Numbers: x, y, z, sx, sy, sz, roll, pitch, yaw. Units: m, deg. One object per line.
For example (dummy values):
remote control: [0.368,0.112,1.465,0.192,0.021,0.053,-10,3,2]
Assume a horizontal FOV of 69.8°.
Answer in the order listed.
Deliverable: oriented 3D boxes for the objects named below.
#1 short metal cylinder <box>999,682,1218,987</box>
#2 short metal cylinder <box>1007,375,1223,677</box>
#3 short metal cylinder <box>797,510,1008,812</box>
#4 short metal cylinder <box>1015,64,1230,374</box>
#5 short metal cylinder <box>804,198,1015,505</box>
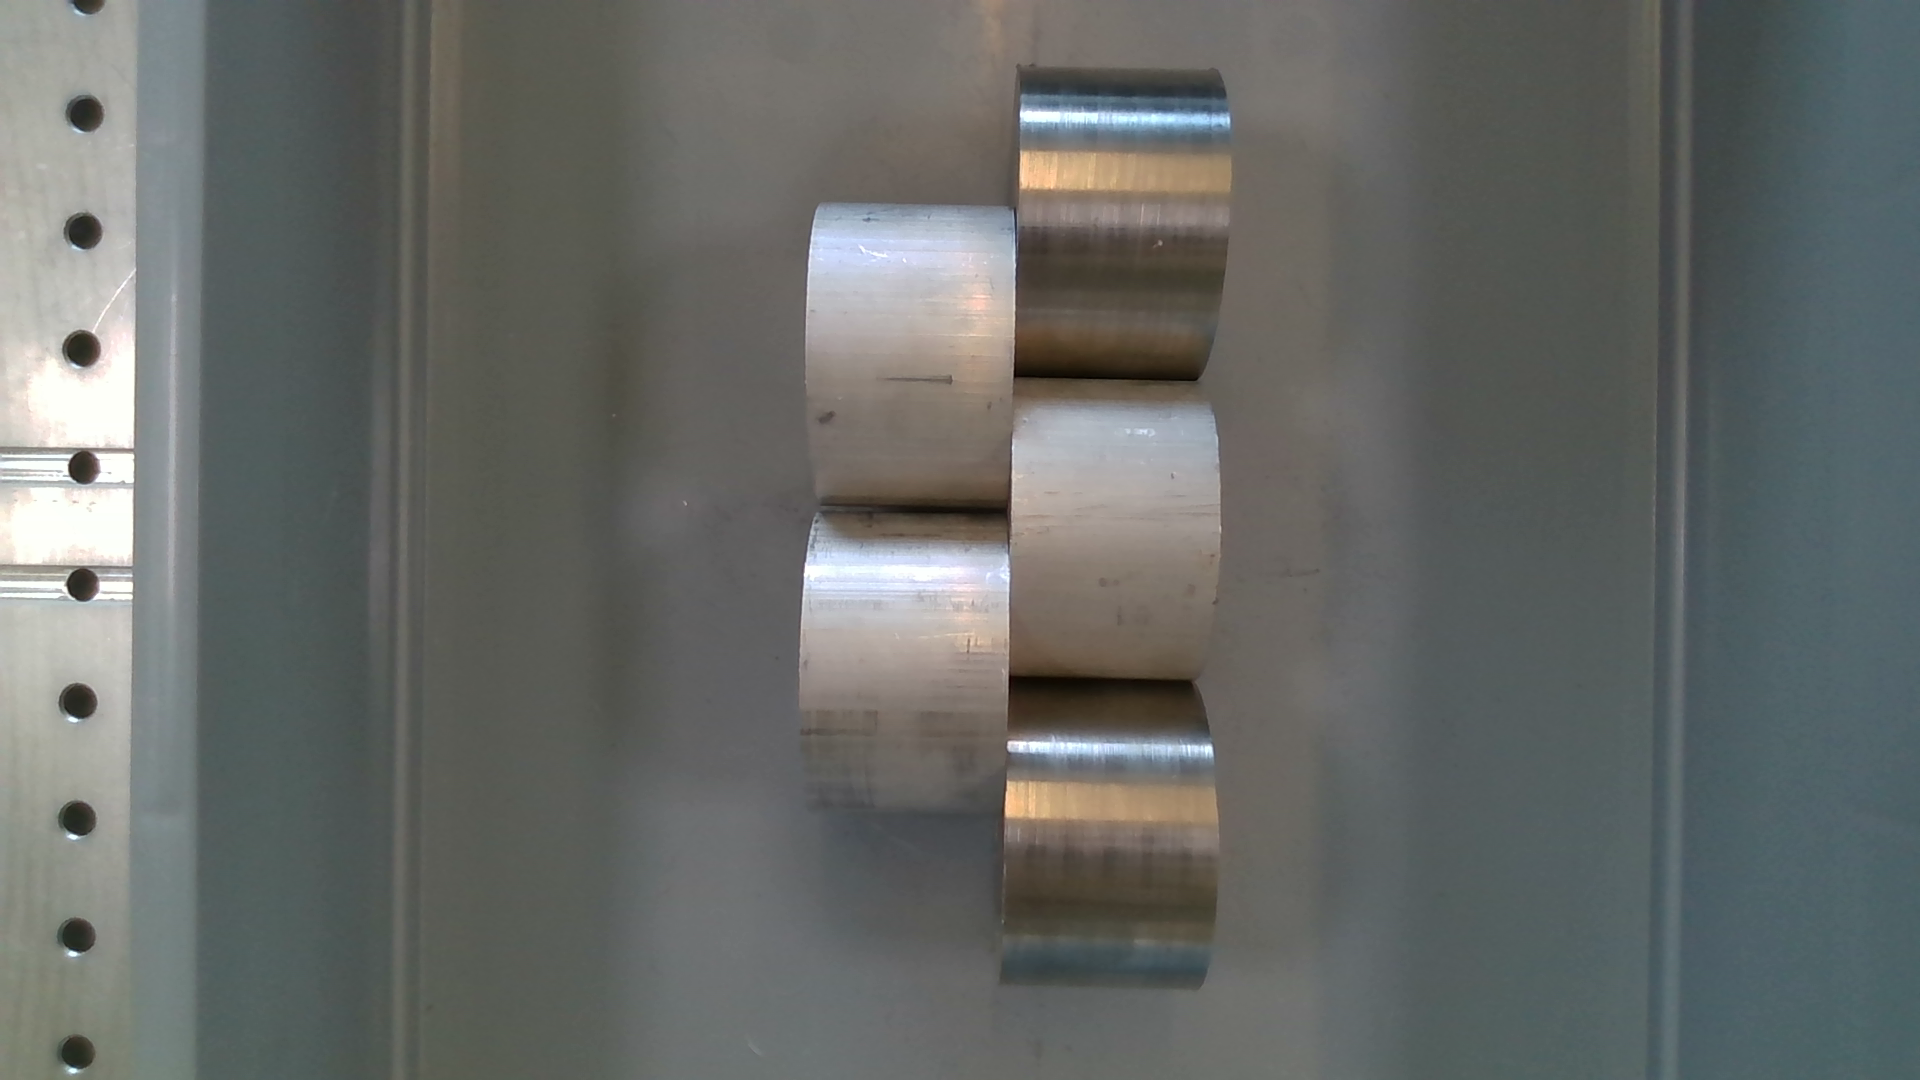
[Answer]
short metal cylinder: [0.036,0.077,0.367,0.050,0.080,0.080,2,90,0]
short metal cylinder: [0.037,-0.003,0.367,0.050,0.080,0.080,1,90,0]
short metal cylinder: [-0.014,0.032,0.367,0.050,0.080,0.080,1,90,0]
short metal cylinder: [0.039,-0.084,0.366,0.050,0.080,0.080,1,90,0]
short metal cylinder: [-0.012,-0.050,0.367,0.050,0.080,0.080,1,90,0]
